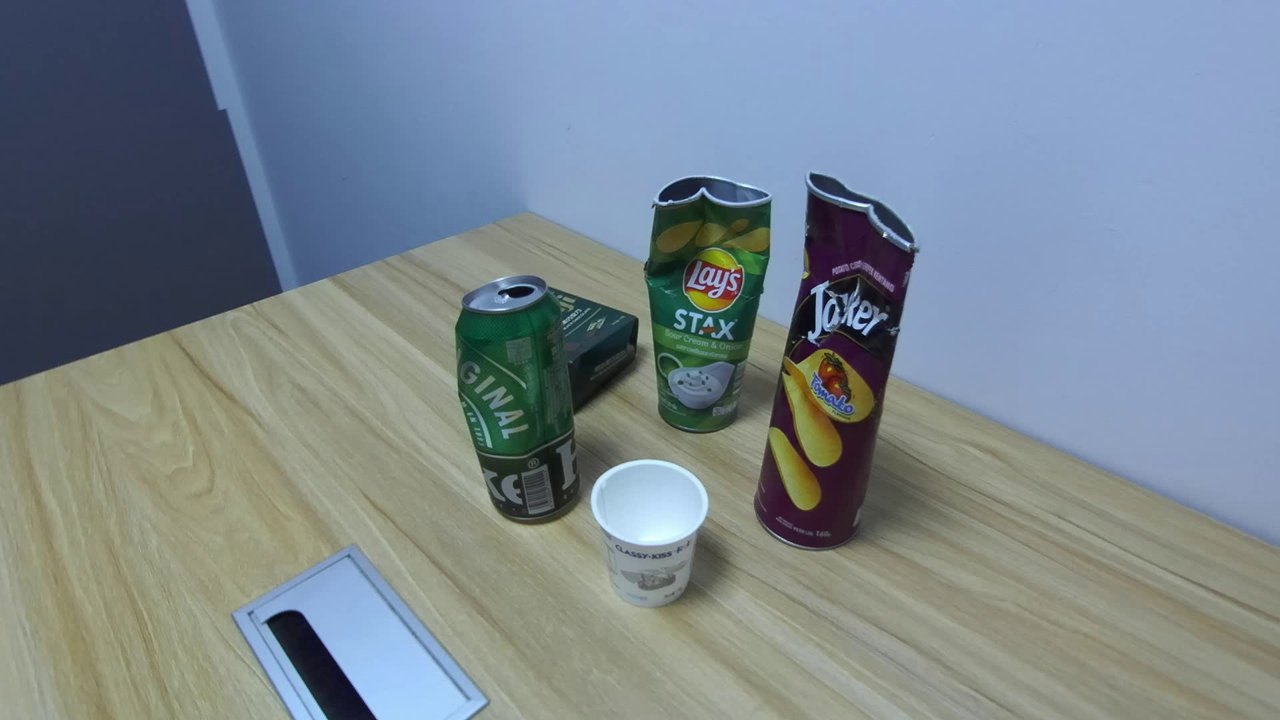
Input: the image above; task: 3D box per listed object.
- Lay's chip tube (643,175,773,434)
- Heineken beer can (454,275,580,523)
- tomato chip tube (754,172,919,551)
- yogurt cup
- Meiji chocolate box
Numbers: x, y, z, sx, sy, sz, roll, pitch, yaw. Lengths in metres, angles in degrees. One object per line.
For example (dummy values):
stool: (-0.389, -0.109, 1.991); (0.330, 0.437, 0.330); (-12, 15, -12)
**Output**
Lay's chip tube: (0.049, -0.040, 0.548); (0.077, 0.201, 0.069); (-12, 36, -13)
Heineken beer can: (-0.081, 0.030, 0.482); (0.068, 0.168, 0.069); (-6, 30, -3)
tomato chip tube: (0.118, 0.012, 0.441); (0.077, 0.236, 0.090); (14, 40, 23)
yogurt cup: (0.006, 0.112, 0.443); (0.072, 0.068, 0.072); (0, 34, 1)
Meiji chocolate box: (-0.074, -0.014, 0.645); (0.122, 0.058, 0.116); (20, 36, 24)
